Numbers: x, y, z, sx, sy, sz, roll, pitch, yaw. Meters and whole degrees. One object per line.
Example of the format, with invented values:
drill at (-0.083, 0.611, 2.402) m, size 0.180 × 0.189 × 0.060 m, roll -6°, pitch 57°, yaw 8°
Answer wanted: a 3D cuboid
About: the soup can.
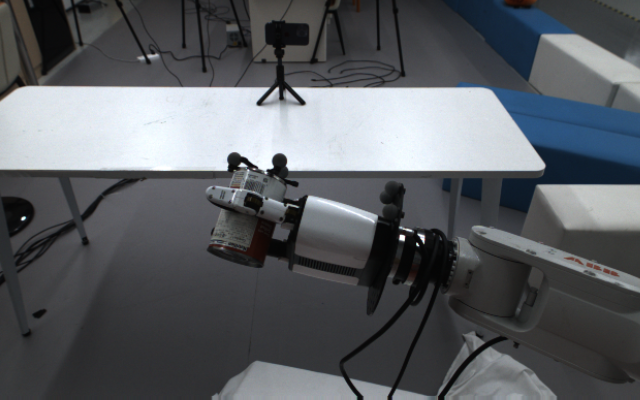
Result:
soup can at (-0.082, 0.022, 0.568) m, size 0.067 × 0.067 × 0.101 m, roll 11°, pitch 72°, yaw 13°
